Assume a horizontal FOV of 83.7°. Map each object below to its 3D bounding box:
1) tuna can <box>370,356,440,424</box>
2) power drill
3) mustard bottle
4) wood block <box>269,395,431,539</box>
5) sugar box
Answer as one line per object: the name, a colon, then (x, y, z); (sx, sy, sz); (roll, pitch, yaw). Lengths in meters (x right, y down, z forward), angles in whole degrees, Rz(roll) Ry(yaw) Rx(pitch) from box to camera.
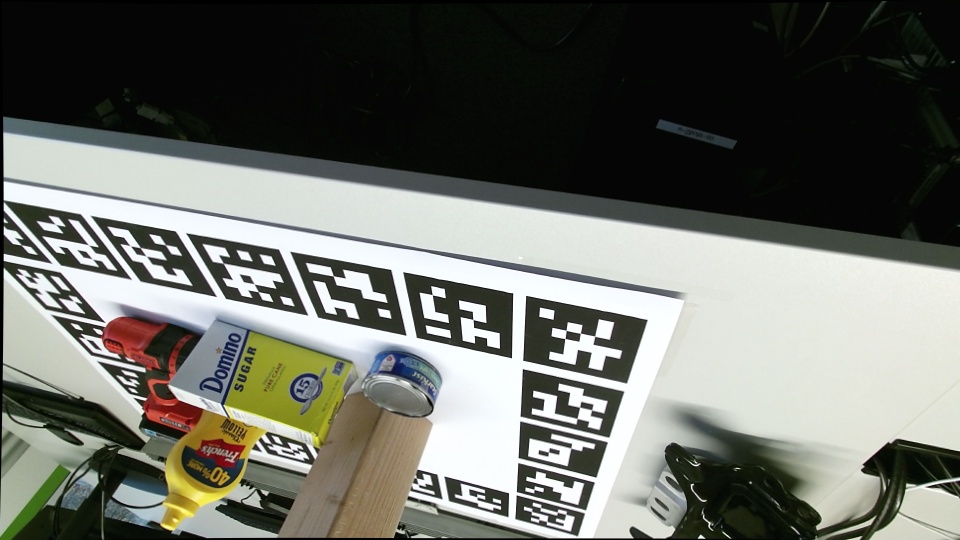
tuna can: (-0.089, 0.136, 0.602); (0.086, 0.033, 0.086); (10, 134, 11)
power drill: (-0.390, 0.160, 0.719); (0.185, 0.057, 0.187); (19, 129, 1)
mustard bottle: (-0.358, 0.243, 0.705); (0.058, 0.191, 0.096); (-26, 118, 35)
wood block: (-0.147, 0.256, 0.633); (0.091, 0.205, 0.090); (-14, 125, 30)
sugar box: (-0.256, 0.131, 0.621); (0.177, 0.092, 0.045); (19, 139, 4)
